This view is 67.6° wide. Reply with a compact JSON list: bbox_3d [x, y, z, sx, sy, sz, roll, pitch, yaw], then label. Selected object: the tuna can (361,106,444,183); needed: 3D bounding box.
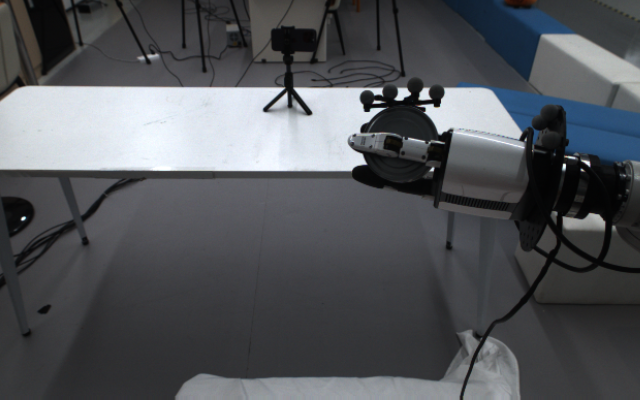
[{"bbox_3d":[0.094,-0.064,0.558,0.085,0.085,0.034,15,2,18],"label":"tuna can"}]
